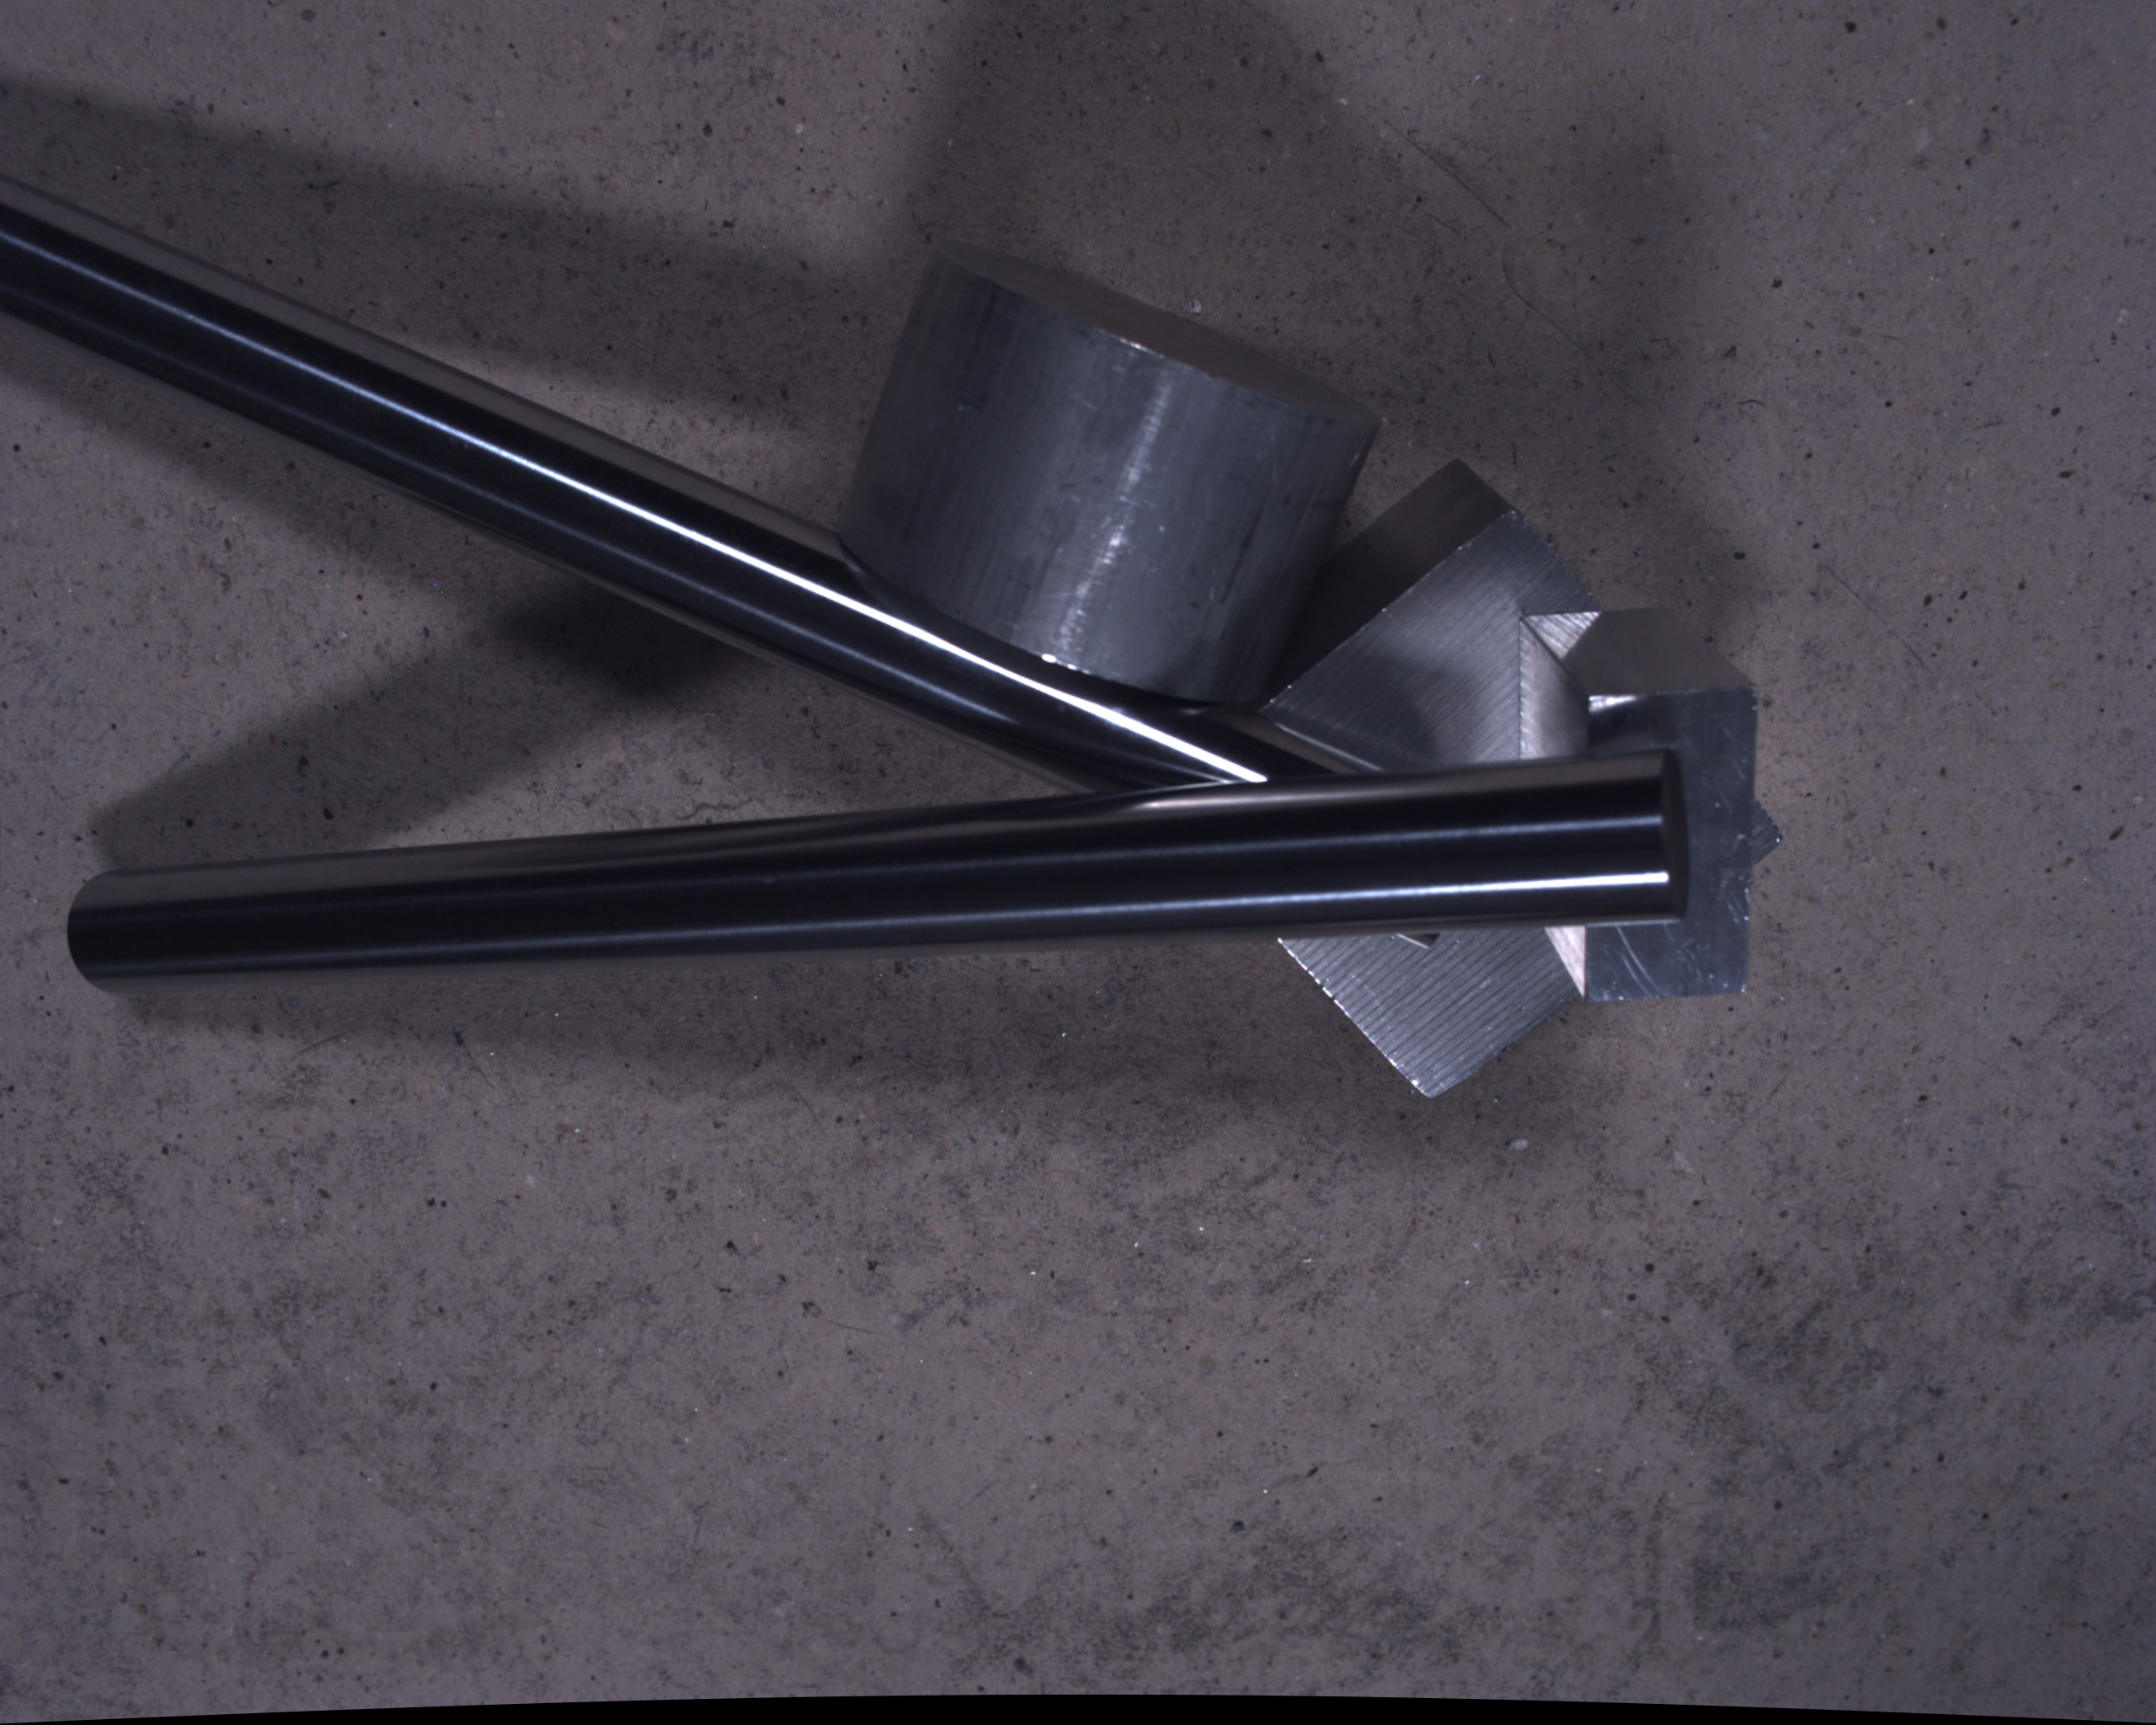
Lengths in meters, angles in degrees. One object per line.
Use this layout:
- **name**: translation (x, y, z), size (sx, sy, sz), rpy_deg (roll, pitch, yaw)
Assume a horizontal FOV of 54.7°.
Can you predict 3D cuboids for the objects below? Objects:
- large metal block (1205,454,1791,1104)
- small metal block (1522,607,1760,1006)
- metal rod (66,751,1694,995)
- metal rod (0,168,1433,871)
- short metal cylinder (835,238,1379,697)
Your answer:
- **large metal block**: translation (0.070, -0.016, 0.391), size (0.080, 0.050, 0.080), rpy_deg (-39, 105, 14)
- **small metal block**: translation (0.090, -0.011, 0.339), size (0.025, 0.050, 0.050), rpy_deg (-4, 110, 2)
- **metal rod**: translation (-0.052, 0.005, 0.355), size (0.301, 0.025, 0.025), rpy_deg (-4, 112, 23)
- **metal rod**: translation (-0.076, -0.059, 0.358), size (0.301, 0.025, 0.025), rpy_deg (23, 109, 3)
- **short metal cylinder**: translation (0.005, -0.068, 0.358), size (0.080, 0.080, 0.050), rpy_deg (20, 109, -8)
